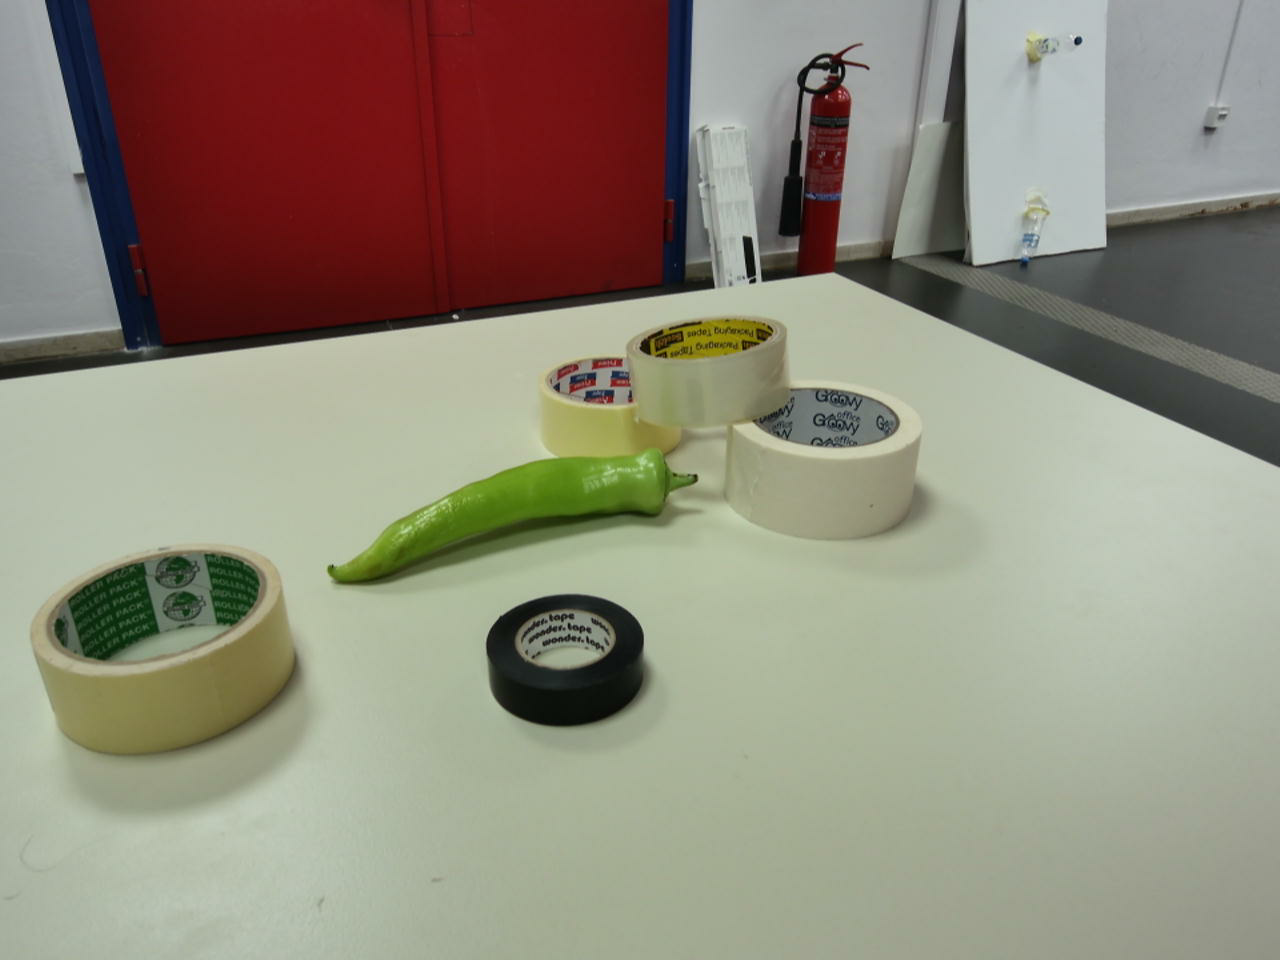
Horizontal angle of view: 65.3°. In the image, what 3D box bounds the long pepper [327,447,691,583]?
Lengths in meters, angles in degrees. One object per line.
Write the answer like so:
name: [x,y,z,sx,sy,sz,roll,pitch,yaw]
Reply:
long pepper: [-0.064,0.013,0.519,0.197,0.038,0.047,-10,28,-21]
